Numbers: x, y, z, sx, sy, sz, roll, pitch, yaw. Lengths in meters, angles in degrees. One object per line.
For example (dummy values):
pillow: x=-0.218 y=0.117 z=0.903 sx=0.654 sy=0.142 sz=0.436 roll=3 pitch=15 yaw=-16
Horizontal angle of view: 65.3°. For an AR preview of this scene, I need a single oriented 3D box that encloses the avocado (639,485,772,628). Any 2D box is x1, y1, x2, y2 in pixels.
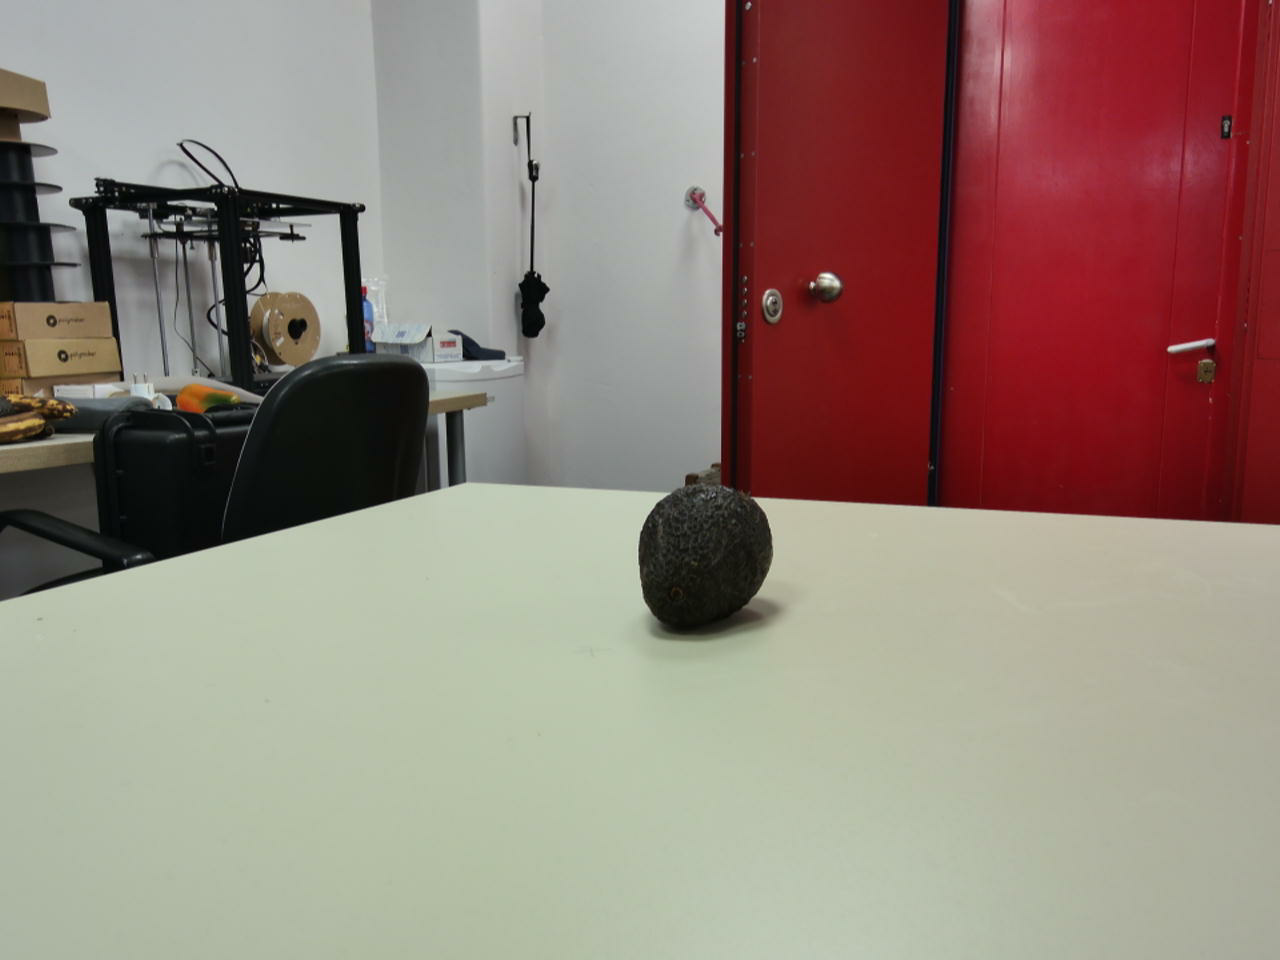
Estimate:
avocado: x=0.031 y=0.037 z=0.525 sx=0.090 sy=0.069 sz=0.070 roll=-4 pitch=8 yaw=-41
